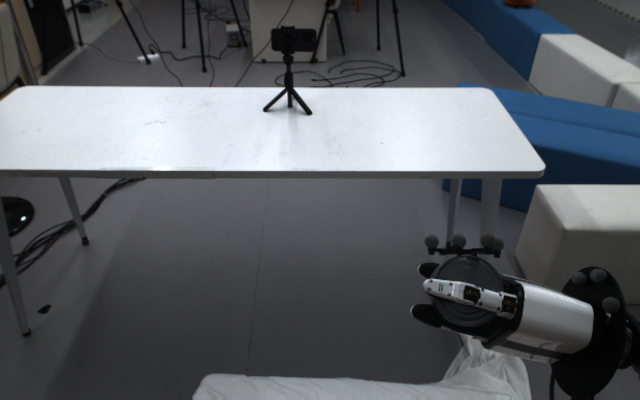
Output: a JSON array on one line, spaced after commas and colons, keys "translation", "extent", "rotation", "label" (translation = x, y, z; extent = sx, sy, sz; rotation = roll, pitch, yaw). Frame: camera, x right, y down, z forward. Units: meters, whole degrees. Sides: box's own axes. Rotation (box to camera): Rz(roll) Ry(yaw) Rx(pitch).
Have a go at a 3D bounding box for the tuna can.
[{"translation": [0.179, 0.109, 0.594], "extent": [0.085, 0.034, 0.085], "rotation": [-1, 75, 4], "label": "tuna can"}]
